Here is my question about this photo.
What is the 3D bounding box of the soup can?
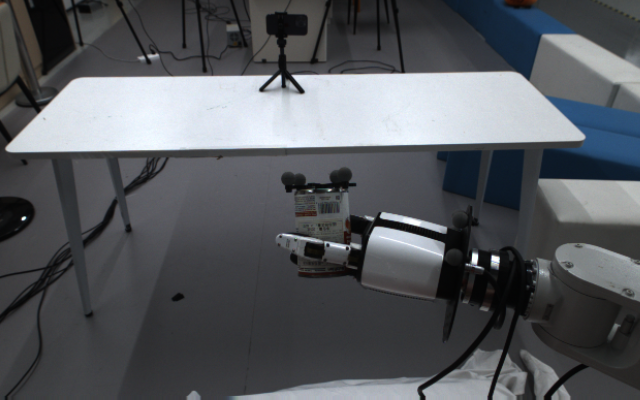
[{"bbox_3d":[0.006,0.039,0.580,0.067,0.101,0.067,-3,-1,0],"label":"soup can"}]
